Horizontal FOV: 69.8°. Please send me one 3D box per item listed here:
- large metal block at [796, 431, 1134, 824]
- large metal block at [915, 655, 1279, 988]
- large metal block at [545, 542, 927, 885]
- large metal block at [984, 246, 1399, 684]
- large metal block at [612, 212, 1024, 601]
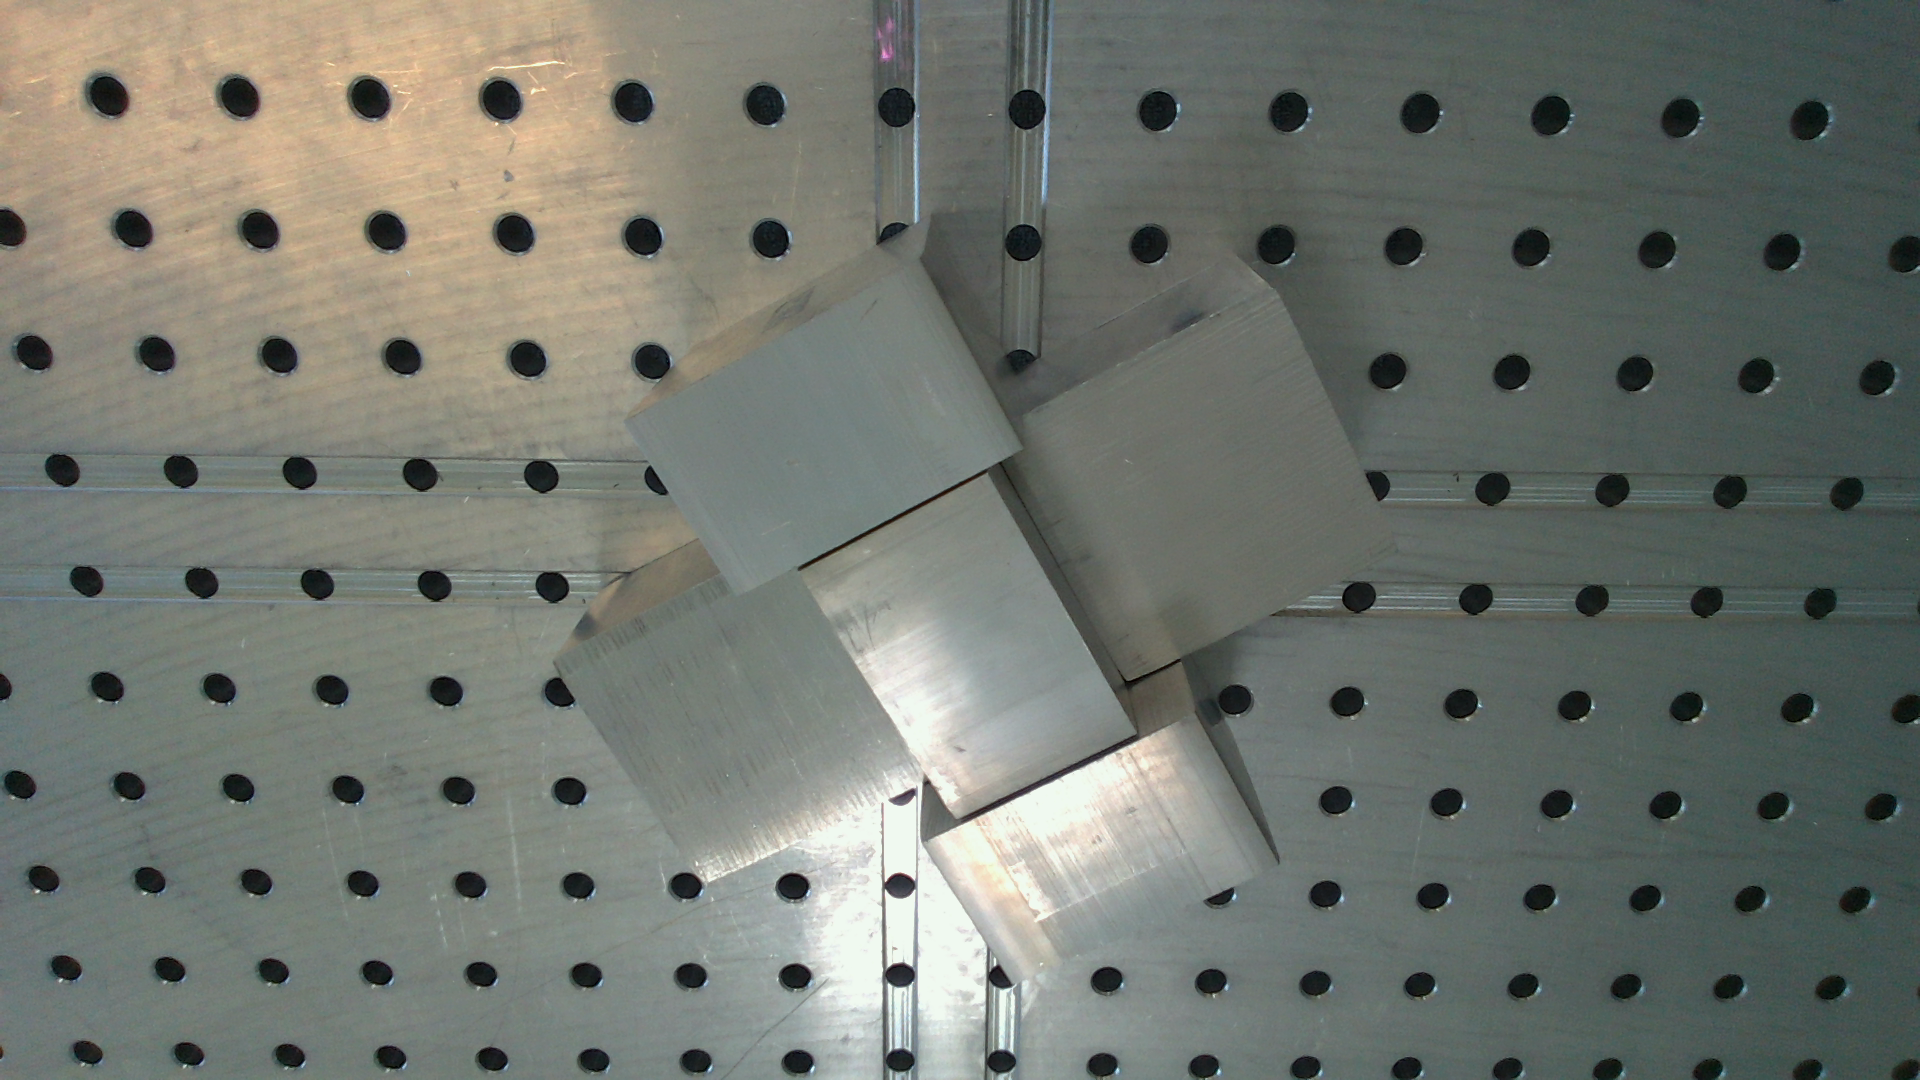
[{"bbox_3d":[0.002,0.015,0.372,0.050,0.080,0.080,-27,108,10],"label":"large metal block"},{"bbox_3d":[0.035,0.067,0.392,0.080,0.080,0.050,-28,108,9],"label":"large metal block"},{"bbox_3d":[-0.057,0.040,0.398,0.080,0.050,0.080,-25,108,9],"label":"large metal block"},{"bbox_3d":[0.060,-0.021,0.375,0.080,0.050,0.080,-27,110,10],"label":"large metal block"},{"bbox_3d":[-0.032,-0.038,0.352,0.080,0.080,0.050,-27,107,10],"label":"large metal block"}]
